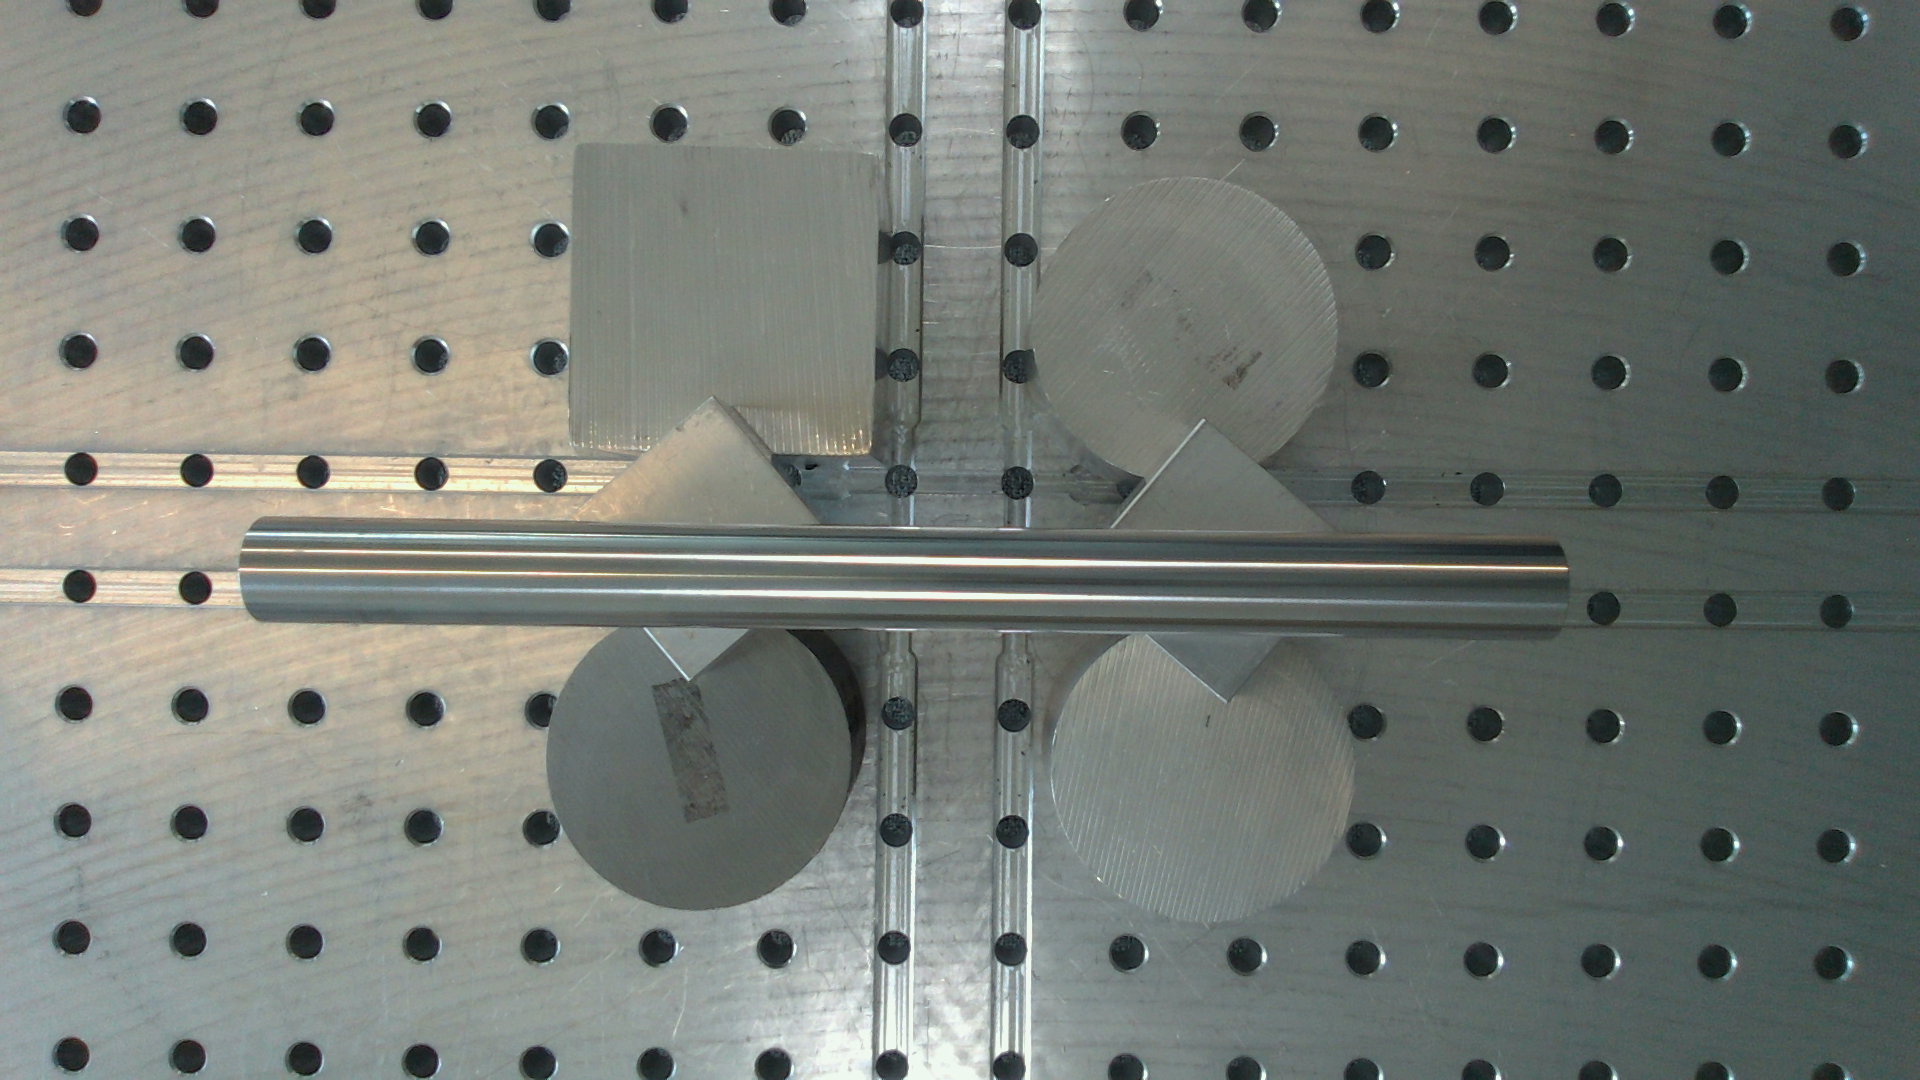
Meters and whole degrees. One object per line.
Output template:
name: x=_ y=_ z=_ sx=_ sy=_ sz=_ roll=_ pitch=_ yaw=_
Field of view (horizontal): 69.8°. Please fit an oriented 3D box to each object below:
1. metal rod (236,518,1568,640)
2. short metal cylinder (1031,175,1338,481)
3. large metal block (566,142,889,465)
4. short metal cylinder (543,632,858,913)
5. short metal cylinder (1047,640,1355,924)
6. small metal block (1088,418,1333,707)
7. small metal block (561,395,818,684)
metal rod: x=-0.013 y=0.009 z=0.322 sx=0.300 sy=0.025 sz=0.025 roll=1 pitch=90 yaw=0
short metal cylinder: x=0.059 y=-0.056 z=0.385 sx=0.080 sy=0.050 sz=0.080 roll=0 pitch=90 yaw=0
large metal block: x=-0.062 y=-0.063 z=0.384 sx=0.080 sy=0.050 sz=0.080 roll=1 pitch=90 yaw=0
short metal cylinder: x=-0.069 y=0.057 z=0.384 sx=0.080 sy=0.050 sz=0.080 roll=0 pitch=90 yaw=0
short metal cylinder: x=0.064 y=0.061 z=0.386 sx=0.080 sy=0.050 sz=0.080 roll=0 pitch=90 yaw=0
small metal block: x=0.063 y=0.005 z=0.348 sx=0.050 sy=0.025 sz=0.050 roll=40 pitch=90 yaw=0
small metal block: x=-0.064 y=0.000 z=0.348 sx=0.050 sy=0.025 sz=0.050 roll=-40 pitch=90 yaw=0
